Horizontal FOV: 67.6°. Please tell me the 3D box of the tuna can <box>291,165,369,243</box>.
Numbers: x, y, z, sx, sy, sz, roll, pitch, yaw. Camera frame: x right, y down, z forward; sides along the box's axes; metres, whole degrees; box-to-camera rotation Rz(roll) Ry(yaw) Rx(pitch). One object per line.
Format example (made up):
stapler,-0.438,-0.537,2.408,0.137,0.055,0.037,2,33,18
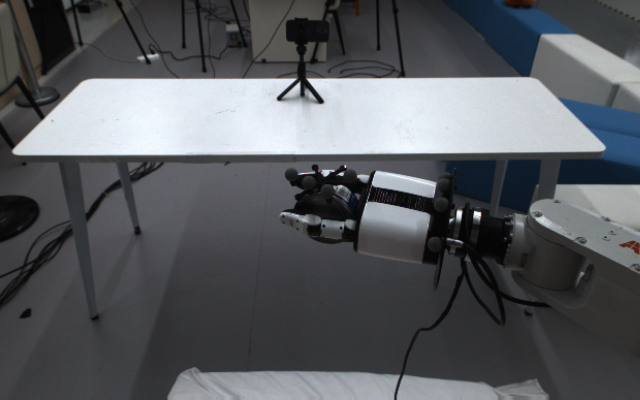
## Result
tuna can,0.012,0.016,0.650,0.085,0.085,0.034,11,39,13
